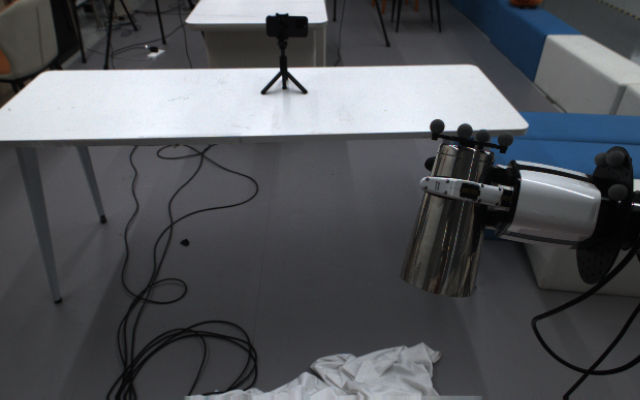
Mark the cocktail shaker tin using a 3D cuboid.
[{"bbox_3d":[0.164,0.018,0.592,0.093,0.170,0.093,10,9,-2],"label":"cocktail shaker tin"}]
